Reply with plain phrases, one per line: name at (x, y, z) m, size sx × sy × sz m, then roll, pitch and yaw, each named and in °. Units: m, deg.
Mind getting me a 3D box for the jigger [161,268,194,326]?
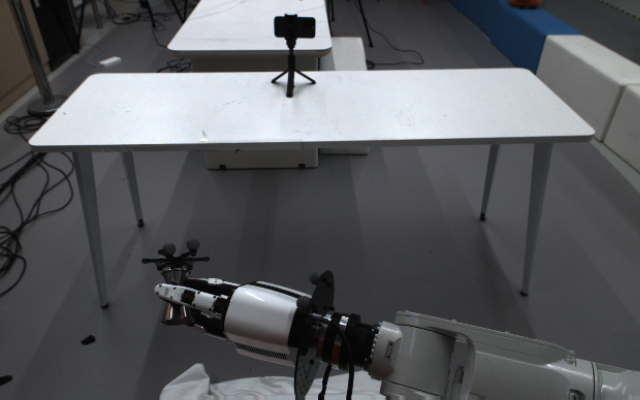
jigger at (-0.191, 0.130, 0.649) m, size 0.043 × 0.043 × 0.071 m, roll -5°, pitch 67°, yaw -10°
